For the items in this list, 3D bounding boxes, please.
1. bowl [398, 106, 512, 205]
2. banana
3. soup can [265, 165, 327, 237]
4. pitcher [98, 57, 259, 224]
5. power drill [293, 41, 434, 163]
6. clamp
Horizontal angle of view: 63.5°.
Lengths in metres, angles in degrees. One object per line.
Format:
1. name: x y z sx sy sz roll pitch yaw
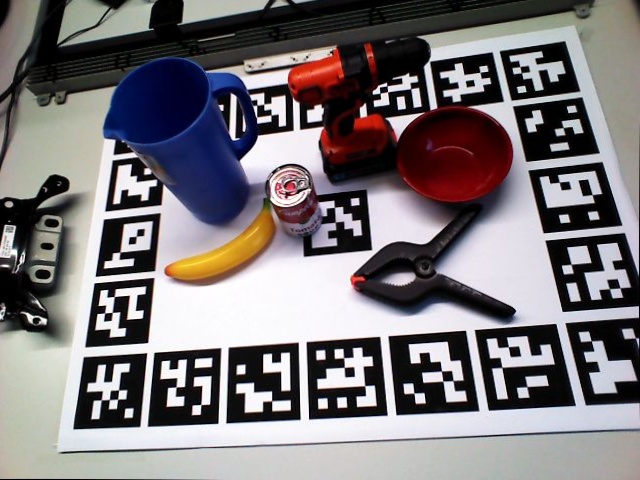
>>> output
1. bowl: 0.194 -0.112 0.735 0.162 0.055 0.161 -4 68 10
2. banana: -0.145 0.015 0.763 0.197 0.039 0.074 -29 57 -4
3. soup can: -0.031 -0.058 0.734 0.068 0.102 0.067 -6 58 9
4. pitcher: -0.166 -0.128 0.712 0.189 0.243 0.133 -29 62 -2
5. power drill: 0.069 -0.185 0.698 0.185 0.187 0.057 -11 66 6
6. clamp: 0.144 0.040 0.684 0.203 0.037 0.164 -9 70 8
